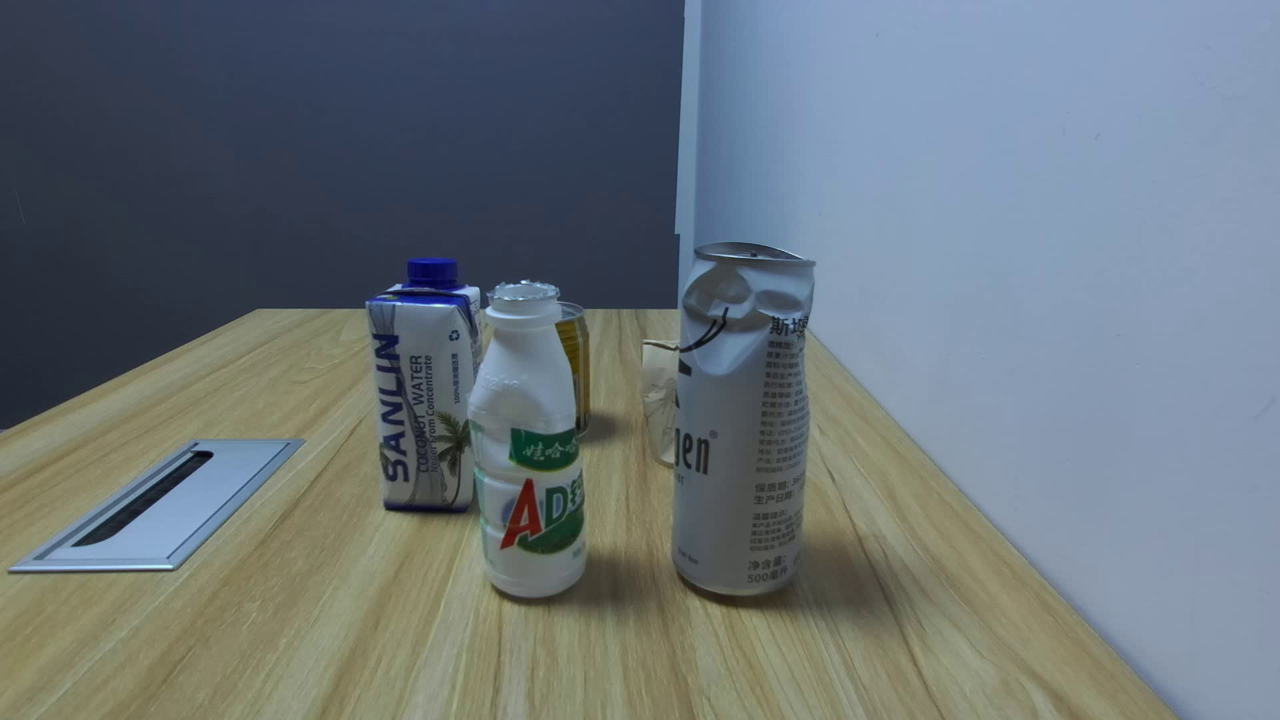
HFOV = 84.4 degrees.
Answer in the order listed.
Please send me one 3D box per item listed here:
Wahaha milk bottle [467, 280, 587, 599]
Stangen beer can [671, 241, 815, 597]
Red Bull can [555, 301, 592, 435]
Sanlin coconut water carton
[{"bbox_3d":[-0.053,0.039,0.336,0.055,0.149,0.055,1,20,0],"label":"Wahaha milk bottle"},{"bbox_3d":[0.051,0.031,0.342,0.065,0.166,0.066,11,17,30],"label":"Stangen beer can"},{"bbox_3d":[-0.070,0.008,0.523,0.067,0.093,0.067,1,16,0],"label":"Red Bull can"},{"bbox_3d":[-0.123,0.015,0.419,0.060,0.144,0.061,1,18,1],"label":"Sanlin coconut water carton"}]
